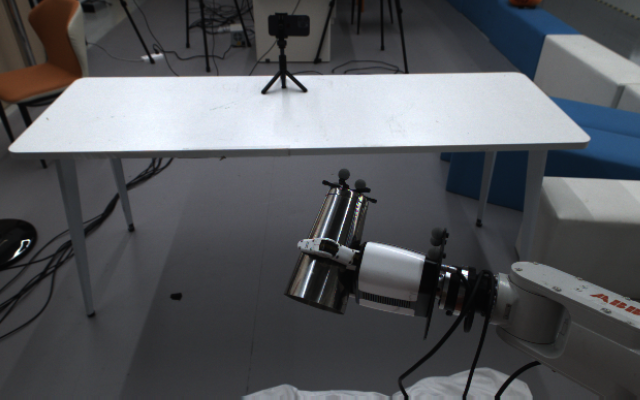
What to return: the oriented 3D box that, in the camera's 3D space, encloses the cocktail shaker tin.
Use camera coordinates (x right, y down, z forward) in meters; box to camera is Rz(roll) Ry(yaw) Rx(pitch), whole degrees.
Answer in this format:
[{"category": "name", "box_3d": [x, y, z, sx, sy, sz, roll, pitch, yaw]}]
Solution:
[{"category": "cocktail shaker tin", "box_3d": [0.016, 0.073, 0.713, 0.093, 0.093, 0.170, 14, 73, 17]}]
